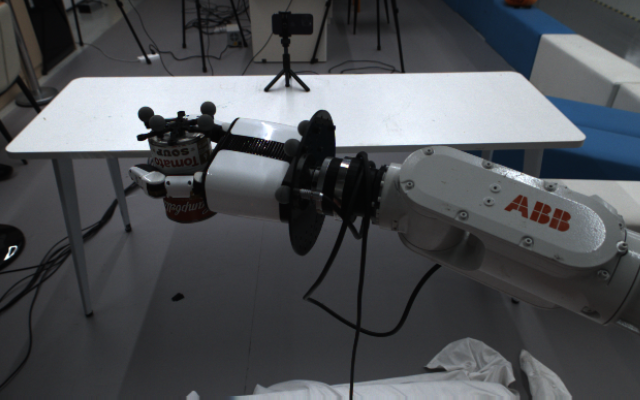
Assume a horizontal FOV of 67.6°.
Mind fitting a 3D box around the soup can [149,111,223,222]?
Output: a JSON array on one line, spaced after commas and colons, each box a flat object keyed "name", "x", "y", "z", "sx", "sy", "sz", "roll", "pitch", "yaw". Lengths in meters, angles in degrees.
[{"name": "soup can", "x": -0.153, "y": -0.033, "z": 0.561, "sx": 0.067, "sy": 0.101, "sz": 0.067, "roll": -2, "pitch": 32, "yaw": 1}]
